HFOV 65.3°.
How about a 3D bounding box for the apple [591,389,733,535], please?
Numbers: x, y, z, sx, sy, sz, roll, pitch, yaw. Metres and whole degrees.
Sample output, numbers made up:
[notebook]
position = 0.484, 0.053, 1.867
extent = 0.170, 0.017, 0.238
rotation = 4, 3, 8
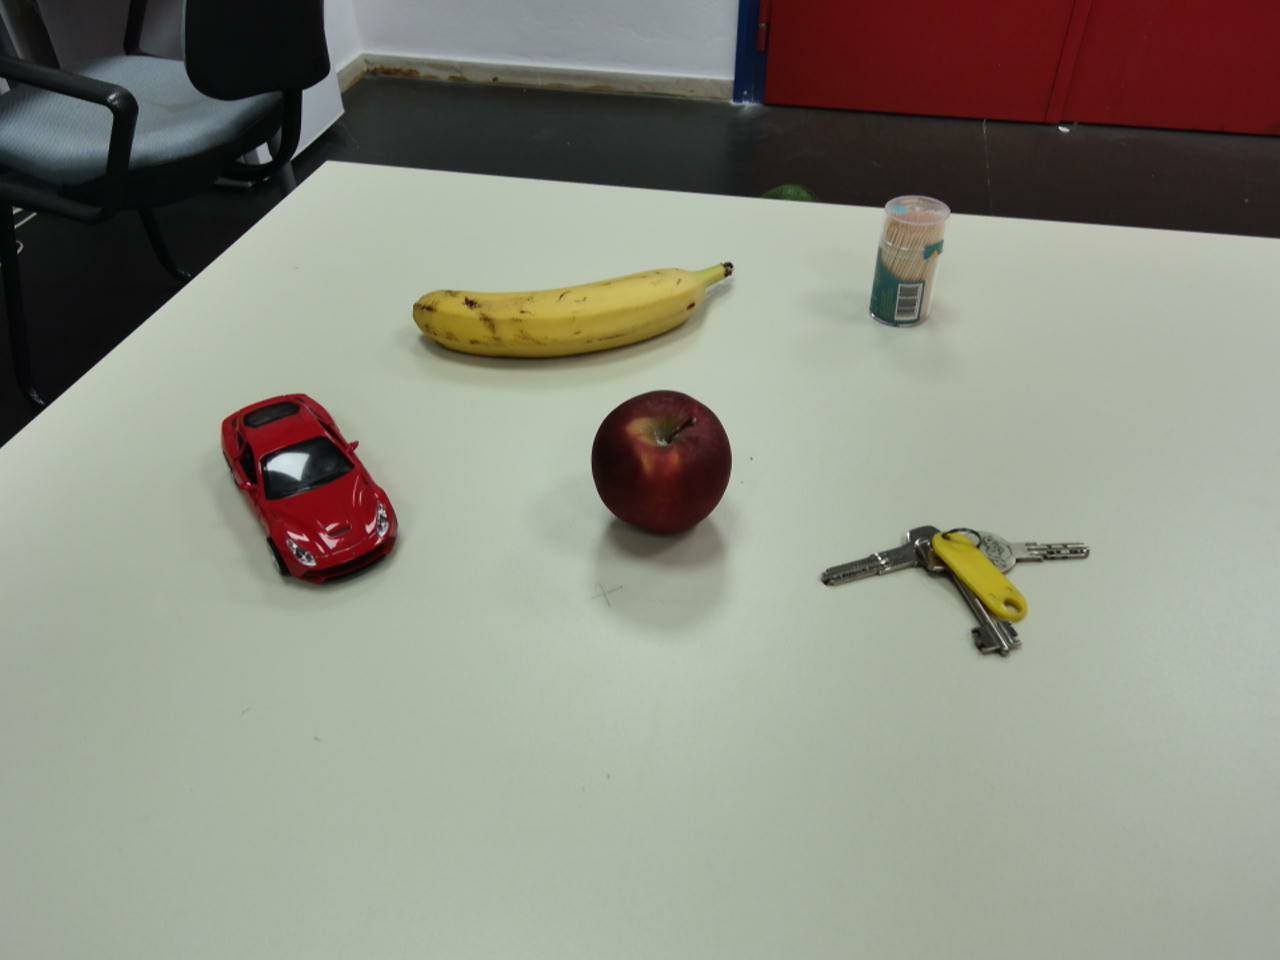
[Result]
[apple]
position = 0.011, -0.008, 0.489
extent = 0.070, 0.072, 0.070
rotation = 1, 39, 0
